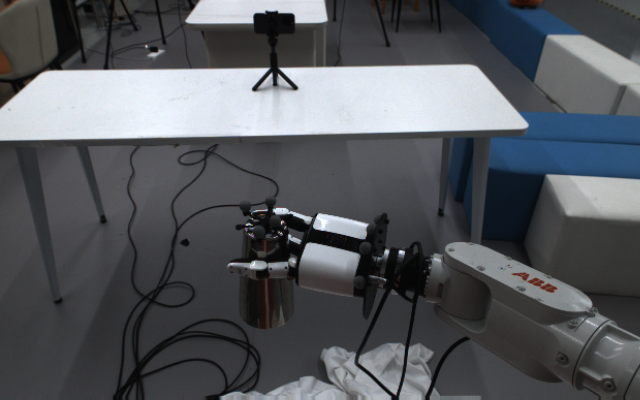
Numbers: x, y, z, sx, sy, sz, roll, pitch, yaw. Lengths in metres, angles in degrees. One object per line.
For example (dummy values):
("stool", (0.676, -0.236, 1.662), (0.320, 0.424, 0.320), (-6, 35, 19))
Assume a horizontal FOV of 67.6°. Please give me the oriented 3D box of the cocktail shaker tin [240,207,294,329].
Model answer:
("cocktail shaker tin", (-0.083, 0.106, 0.766), (0.093, 0.170, 0.093), (2, 33, -1))
